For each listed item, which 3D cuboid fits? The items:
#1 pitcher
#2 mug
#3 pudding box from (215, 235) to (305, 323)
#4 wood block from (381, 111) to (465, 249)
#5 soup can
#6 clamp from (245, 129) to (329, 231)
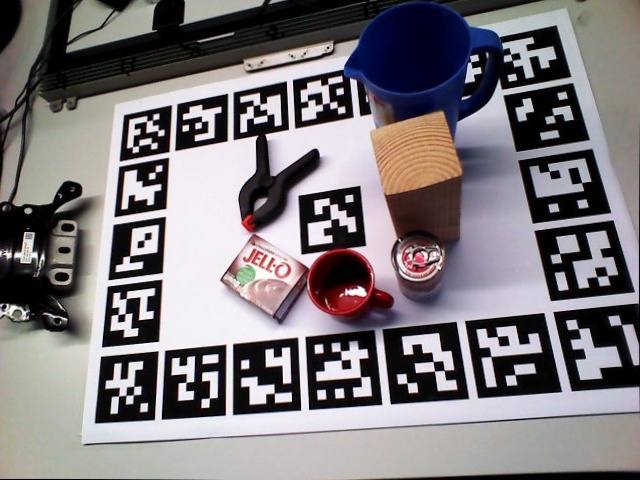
[{"bbox_3d":[0.151,-0.182,0.689,0.190,0.242,0.132,-9,65,14],"label":"pitcher"},{"bbox_3d":[0.047,0.076,0.705,0.117,0.081,0.093,29,77,24],"label":"mug"},{"bbox_3d":[-0.087,0.058,0.774,0.114,0.038,0.090,31,83,24],"label":"pudding box"},{"bbox_3d":[0.135,-0.061,0.663,0.090,0.206,0.090,-9,67,7],"label":"wood block"},{"bbox_3d":[0.134,0.043,0.682,0.068,0.102,0.067,-5,71,13],"label":"soup can"},{"bbox_3d":[-0.071,-0.091,0.833,0.122,0.036,0.164,23,77,14],"label":"clamp"}]
